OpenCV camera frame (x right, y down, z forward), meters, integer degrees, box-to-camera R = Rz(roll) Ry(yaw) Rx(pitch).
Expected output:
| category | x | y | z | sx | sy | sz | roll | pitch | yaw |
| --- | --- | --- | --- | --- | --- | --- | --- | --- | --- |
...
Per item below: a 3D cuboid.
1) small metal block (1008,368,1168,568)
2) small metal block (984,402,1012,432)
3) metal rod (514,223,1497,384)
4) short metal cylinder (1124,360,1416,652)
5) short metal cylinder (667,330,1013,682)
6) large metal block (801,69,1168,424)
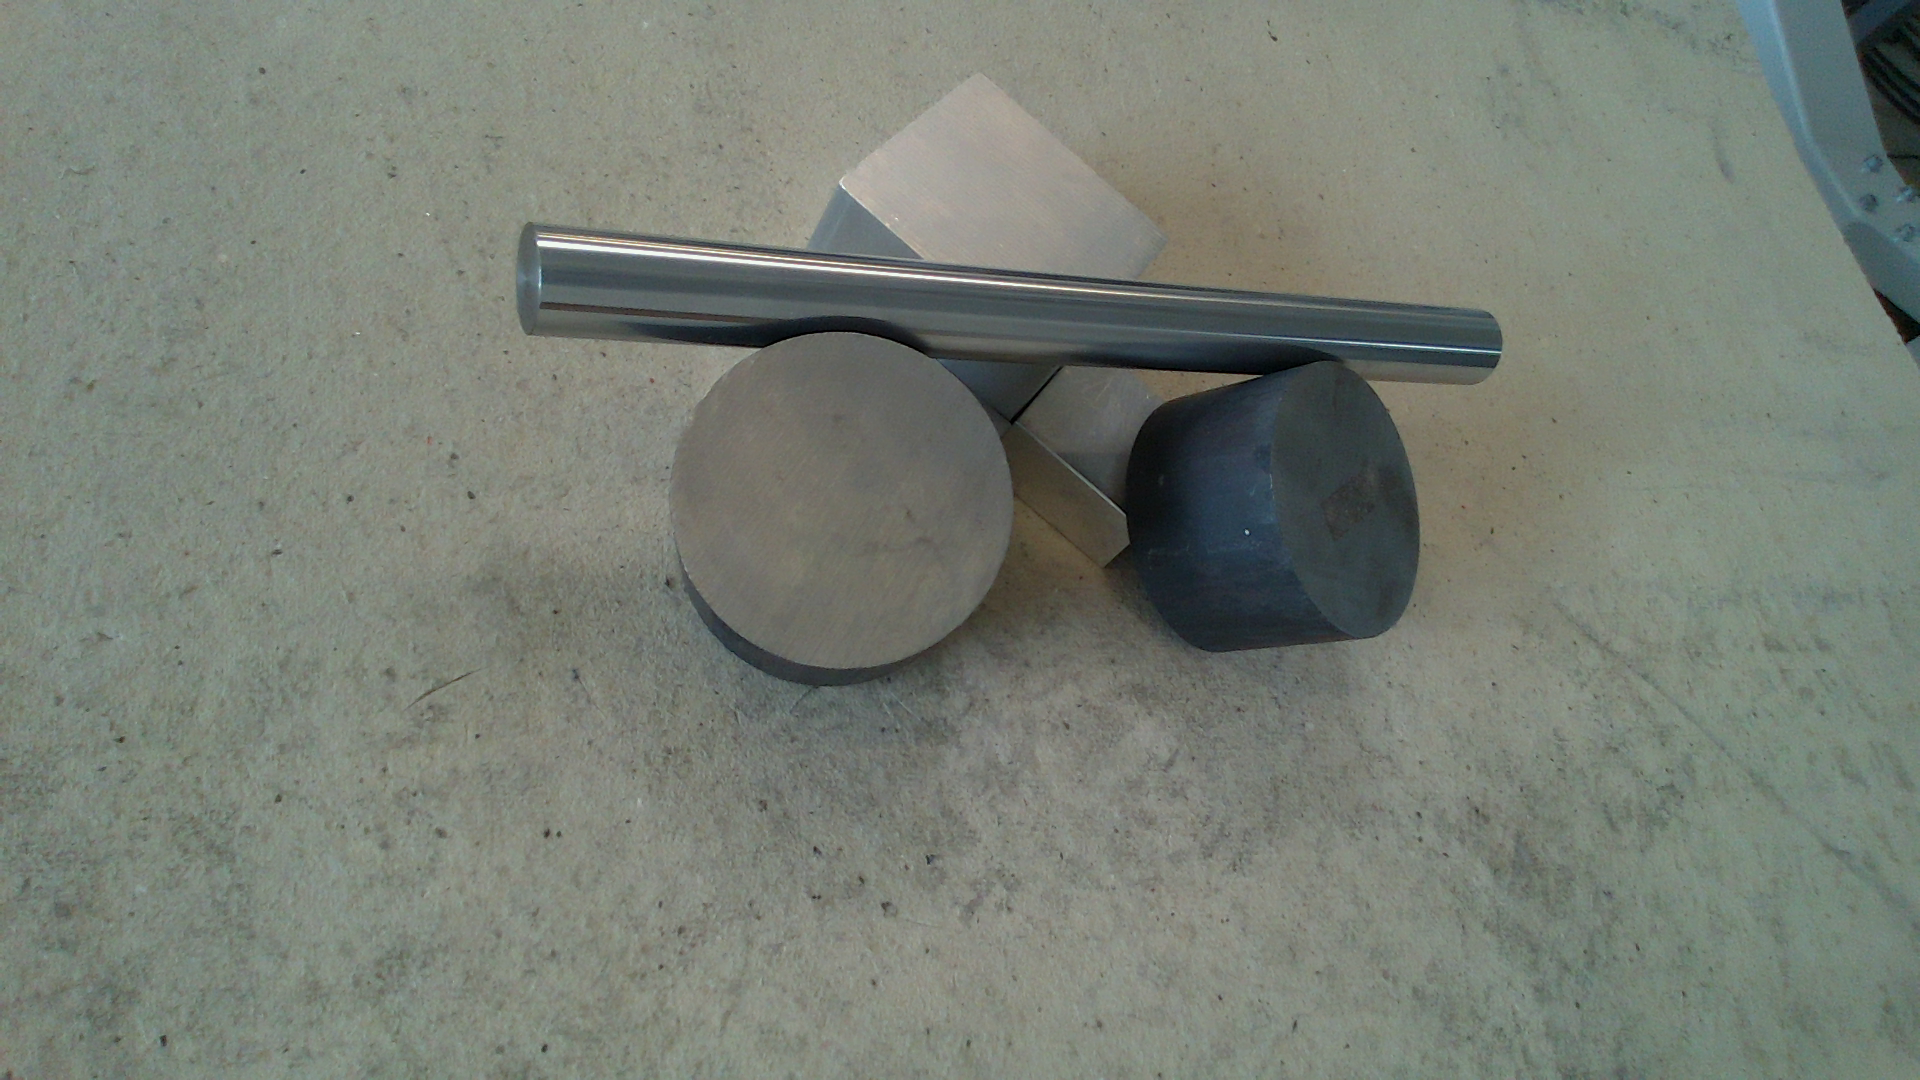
| category | x | y | z | sx | sy | sz | roll | pitch | yaw |
| --- | --- | --- | --- | --- | --- | --- | --- | --- | --- |
| small metal block | 0.043 | -0.028 | 0.430 | 0.050 | 0.025 | 0.050 | 40 | 51 | -1 |
| small metal block | -0.021 | -0.030 | 0.397 | 0.050 | 0.025 | 0.050 | 40 | 50 | -1 |
| metal rod | 0.035 | -0.061 | 0.379 | 0.301 | 0.025 | 0.025 | -1 | 62 | -29 |
| short metal cylinder | 0.094 | -0.009 | 0.412 | 0.080 | 0.050 | 0.080 | 13 | 72 | -44 |
| short metal cylinder | -0.031 | -0.006 | 0.342 | 0.080 | 0.050 | 0.080 | 2 | 79 | -9 |
| large metal block | 0.005 | -0.086 | 0.427 | 0.080 | 0.050 | 0.080 | 41 | 51 | 0 |
